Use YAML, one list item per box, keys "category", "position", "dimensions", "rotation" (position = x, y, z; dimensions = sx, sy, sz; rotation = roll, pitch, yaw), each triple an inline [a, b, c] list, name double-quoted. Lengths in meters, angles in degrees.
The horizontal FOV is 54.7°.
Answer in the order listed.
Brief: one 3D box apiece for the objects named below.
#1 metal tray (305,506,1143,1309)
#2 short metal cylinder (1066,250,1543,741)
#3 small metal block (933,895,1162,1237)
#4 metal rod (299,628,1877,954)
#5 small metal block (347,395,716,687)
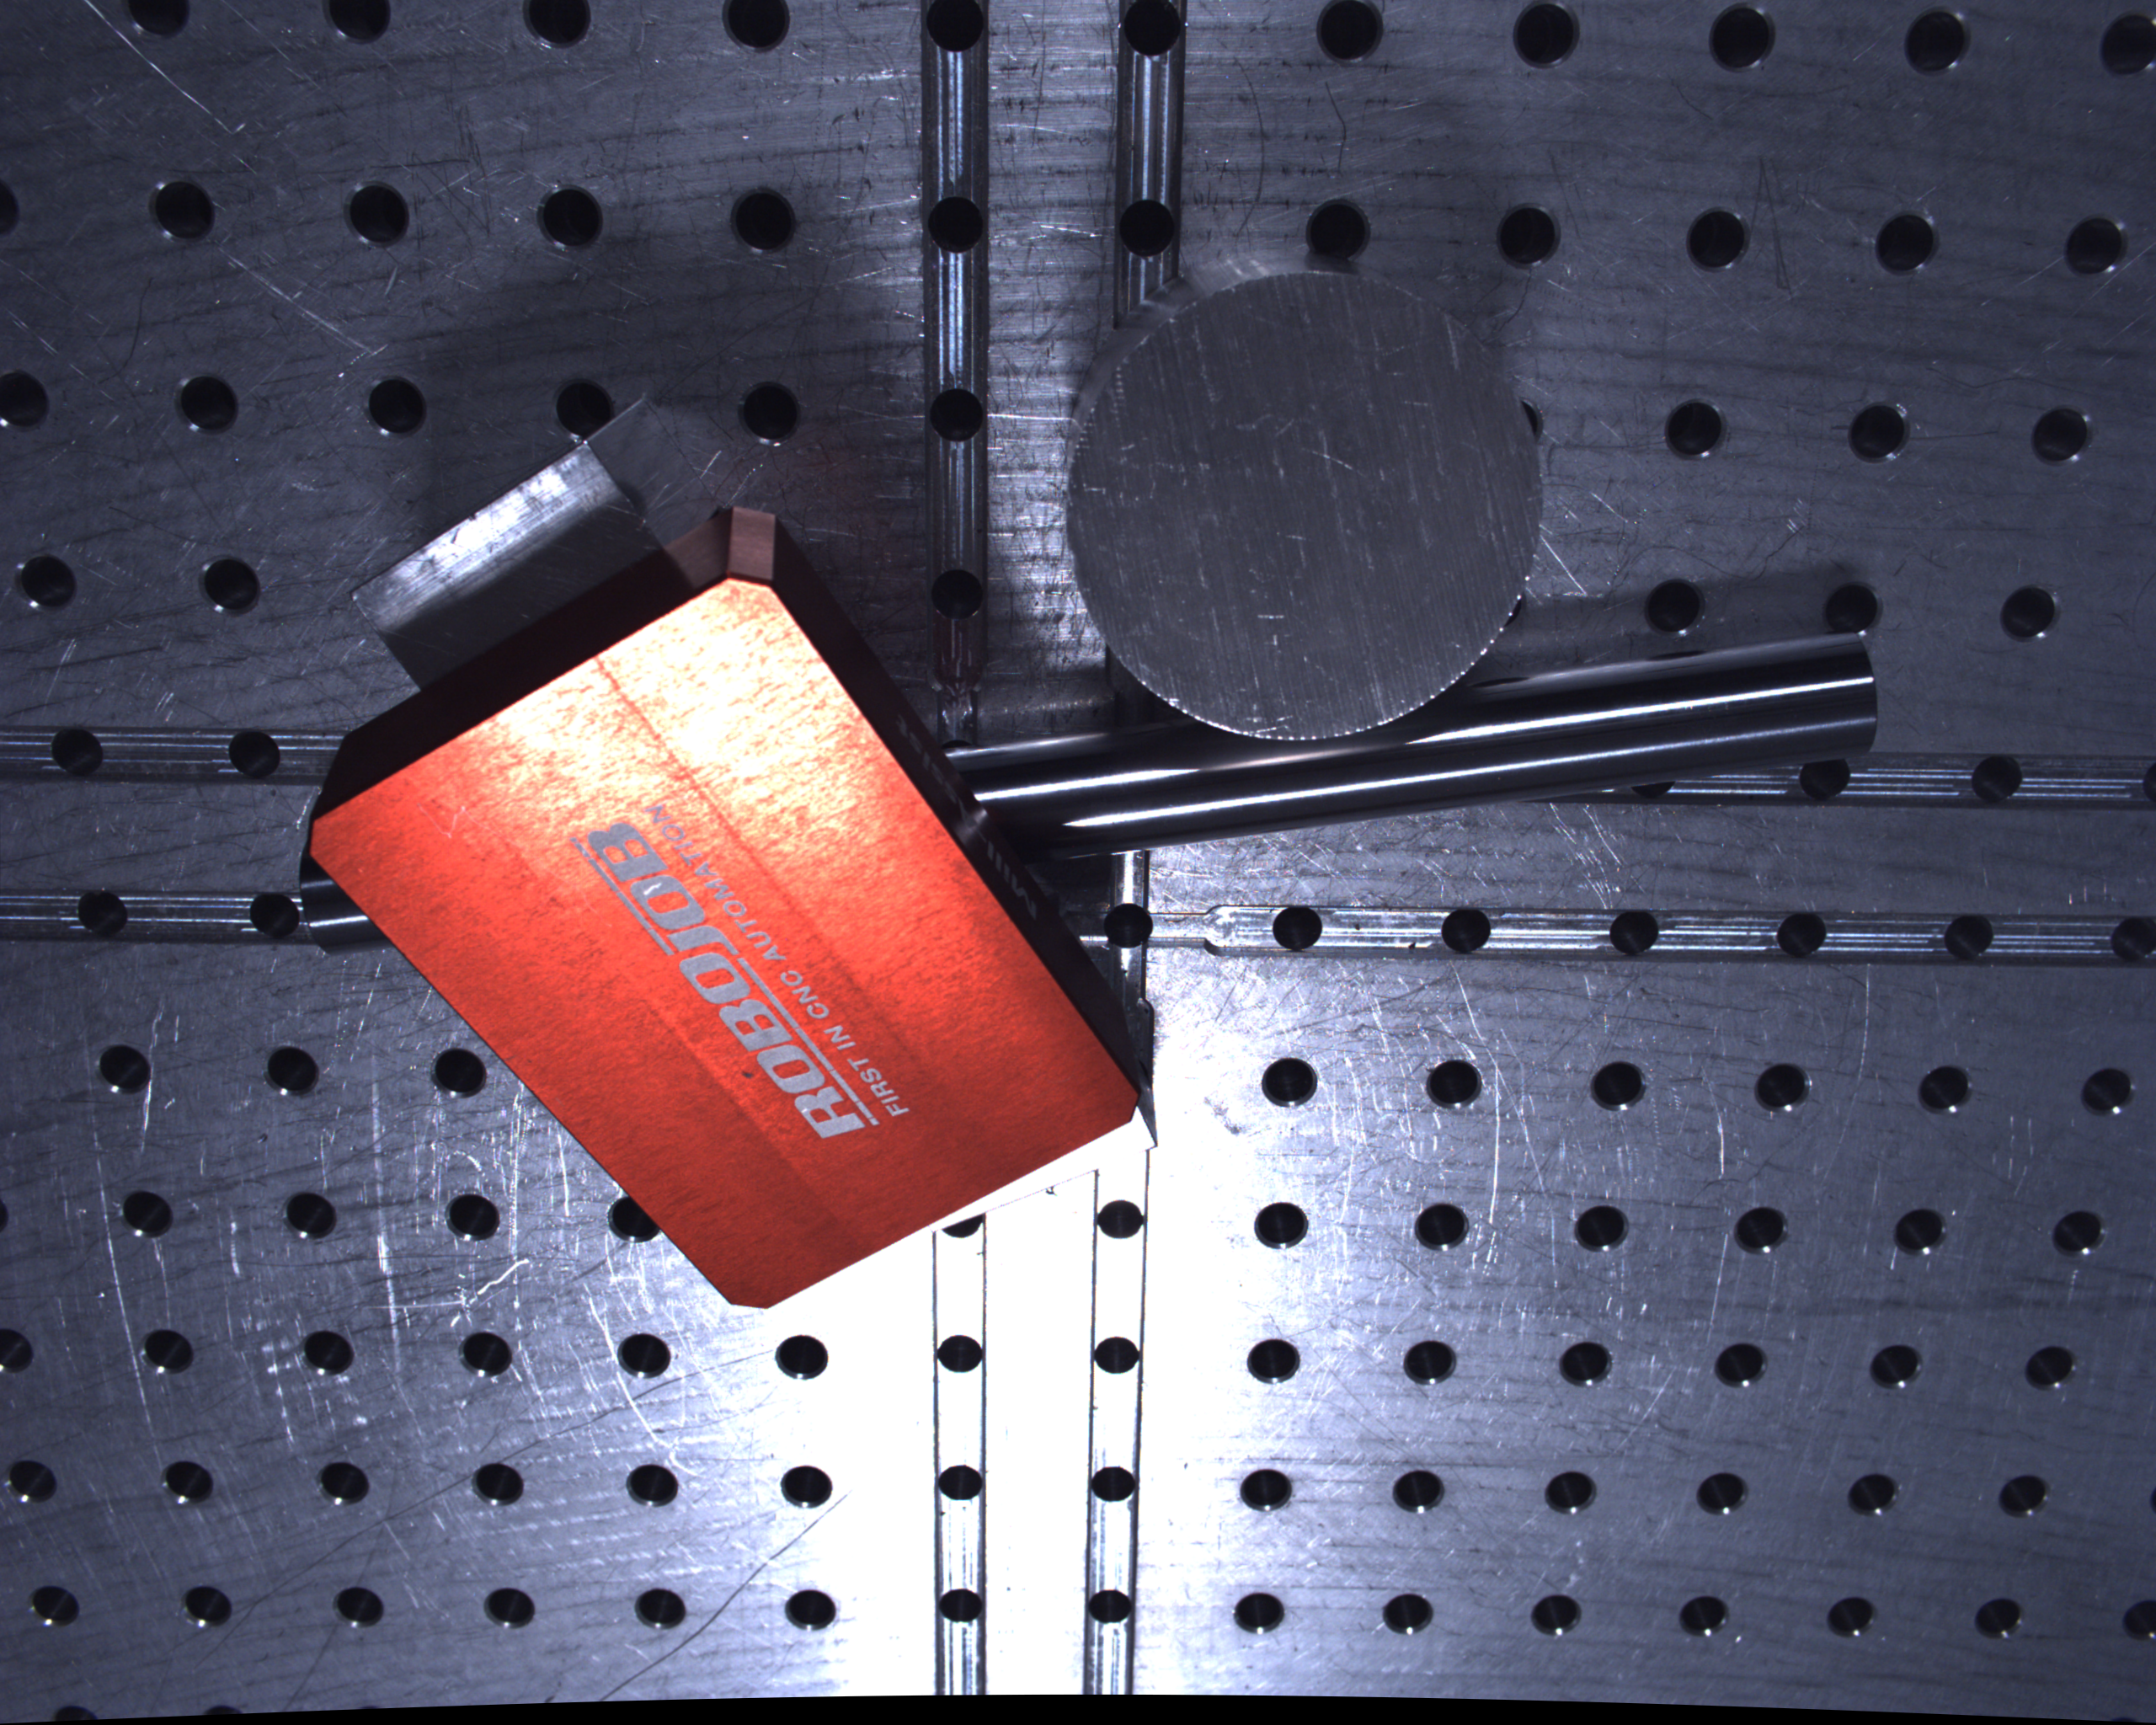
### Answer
- category: "metal tray"
  position: [-0.058, 0.013, 0.373]
  dimensions: [0.090, 0.030, 0.130]
  rotation: [-29, 119, 10]
- category: "short metal cylinder"
  position: [0.038, -0.067, 0.375]
  dimensions: [0.081, 0.050, 0.079]
  rotation: [0, 110, -1]
- category: "small metal block"
  position: [-0.016, 0.042, 0.427]
  dimensions: [0.050, 0.025, 0.050]
  rotation: [-22, 109, 7]
- category: "metal rod"
  position: [0.000, -0.014, 0.409]
  dimensions: [0.302, 0.025, 0.025]
  rotation: [-7, 110, 2]
- category: "small metal block"
  position: [-0.096, -0.057, 0.377]
  dimensions: [0.050, 0.050, 0.025]
  rotation: [-30, 108, 10]
